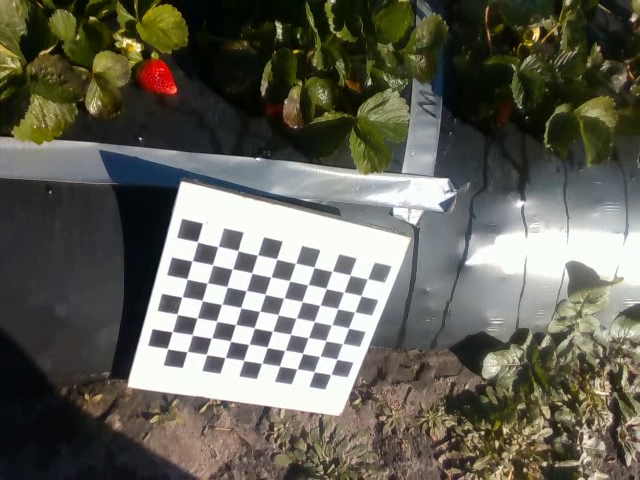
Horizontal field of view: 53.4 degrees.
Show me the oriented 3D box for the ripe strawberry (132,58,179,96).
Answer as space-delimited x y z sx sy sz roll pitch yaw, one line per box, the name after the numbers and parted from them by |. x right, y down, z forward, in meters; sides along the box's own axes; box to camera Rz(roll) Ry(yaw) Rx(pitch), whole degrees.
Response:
-0.188 -0.188 0.736 0.058 0.046 0.042 44 7 -6 | ripe strawberry
